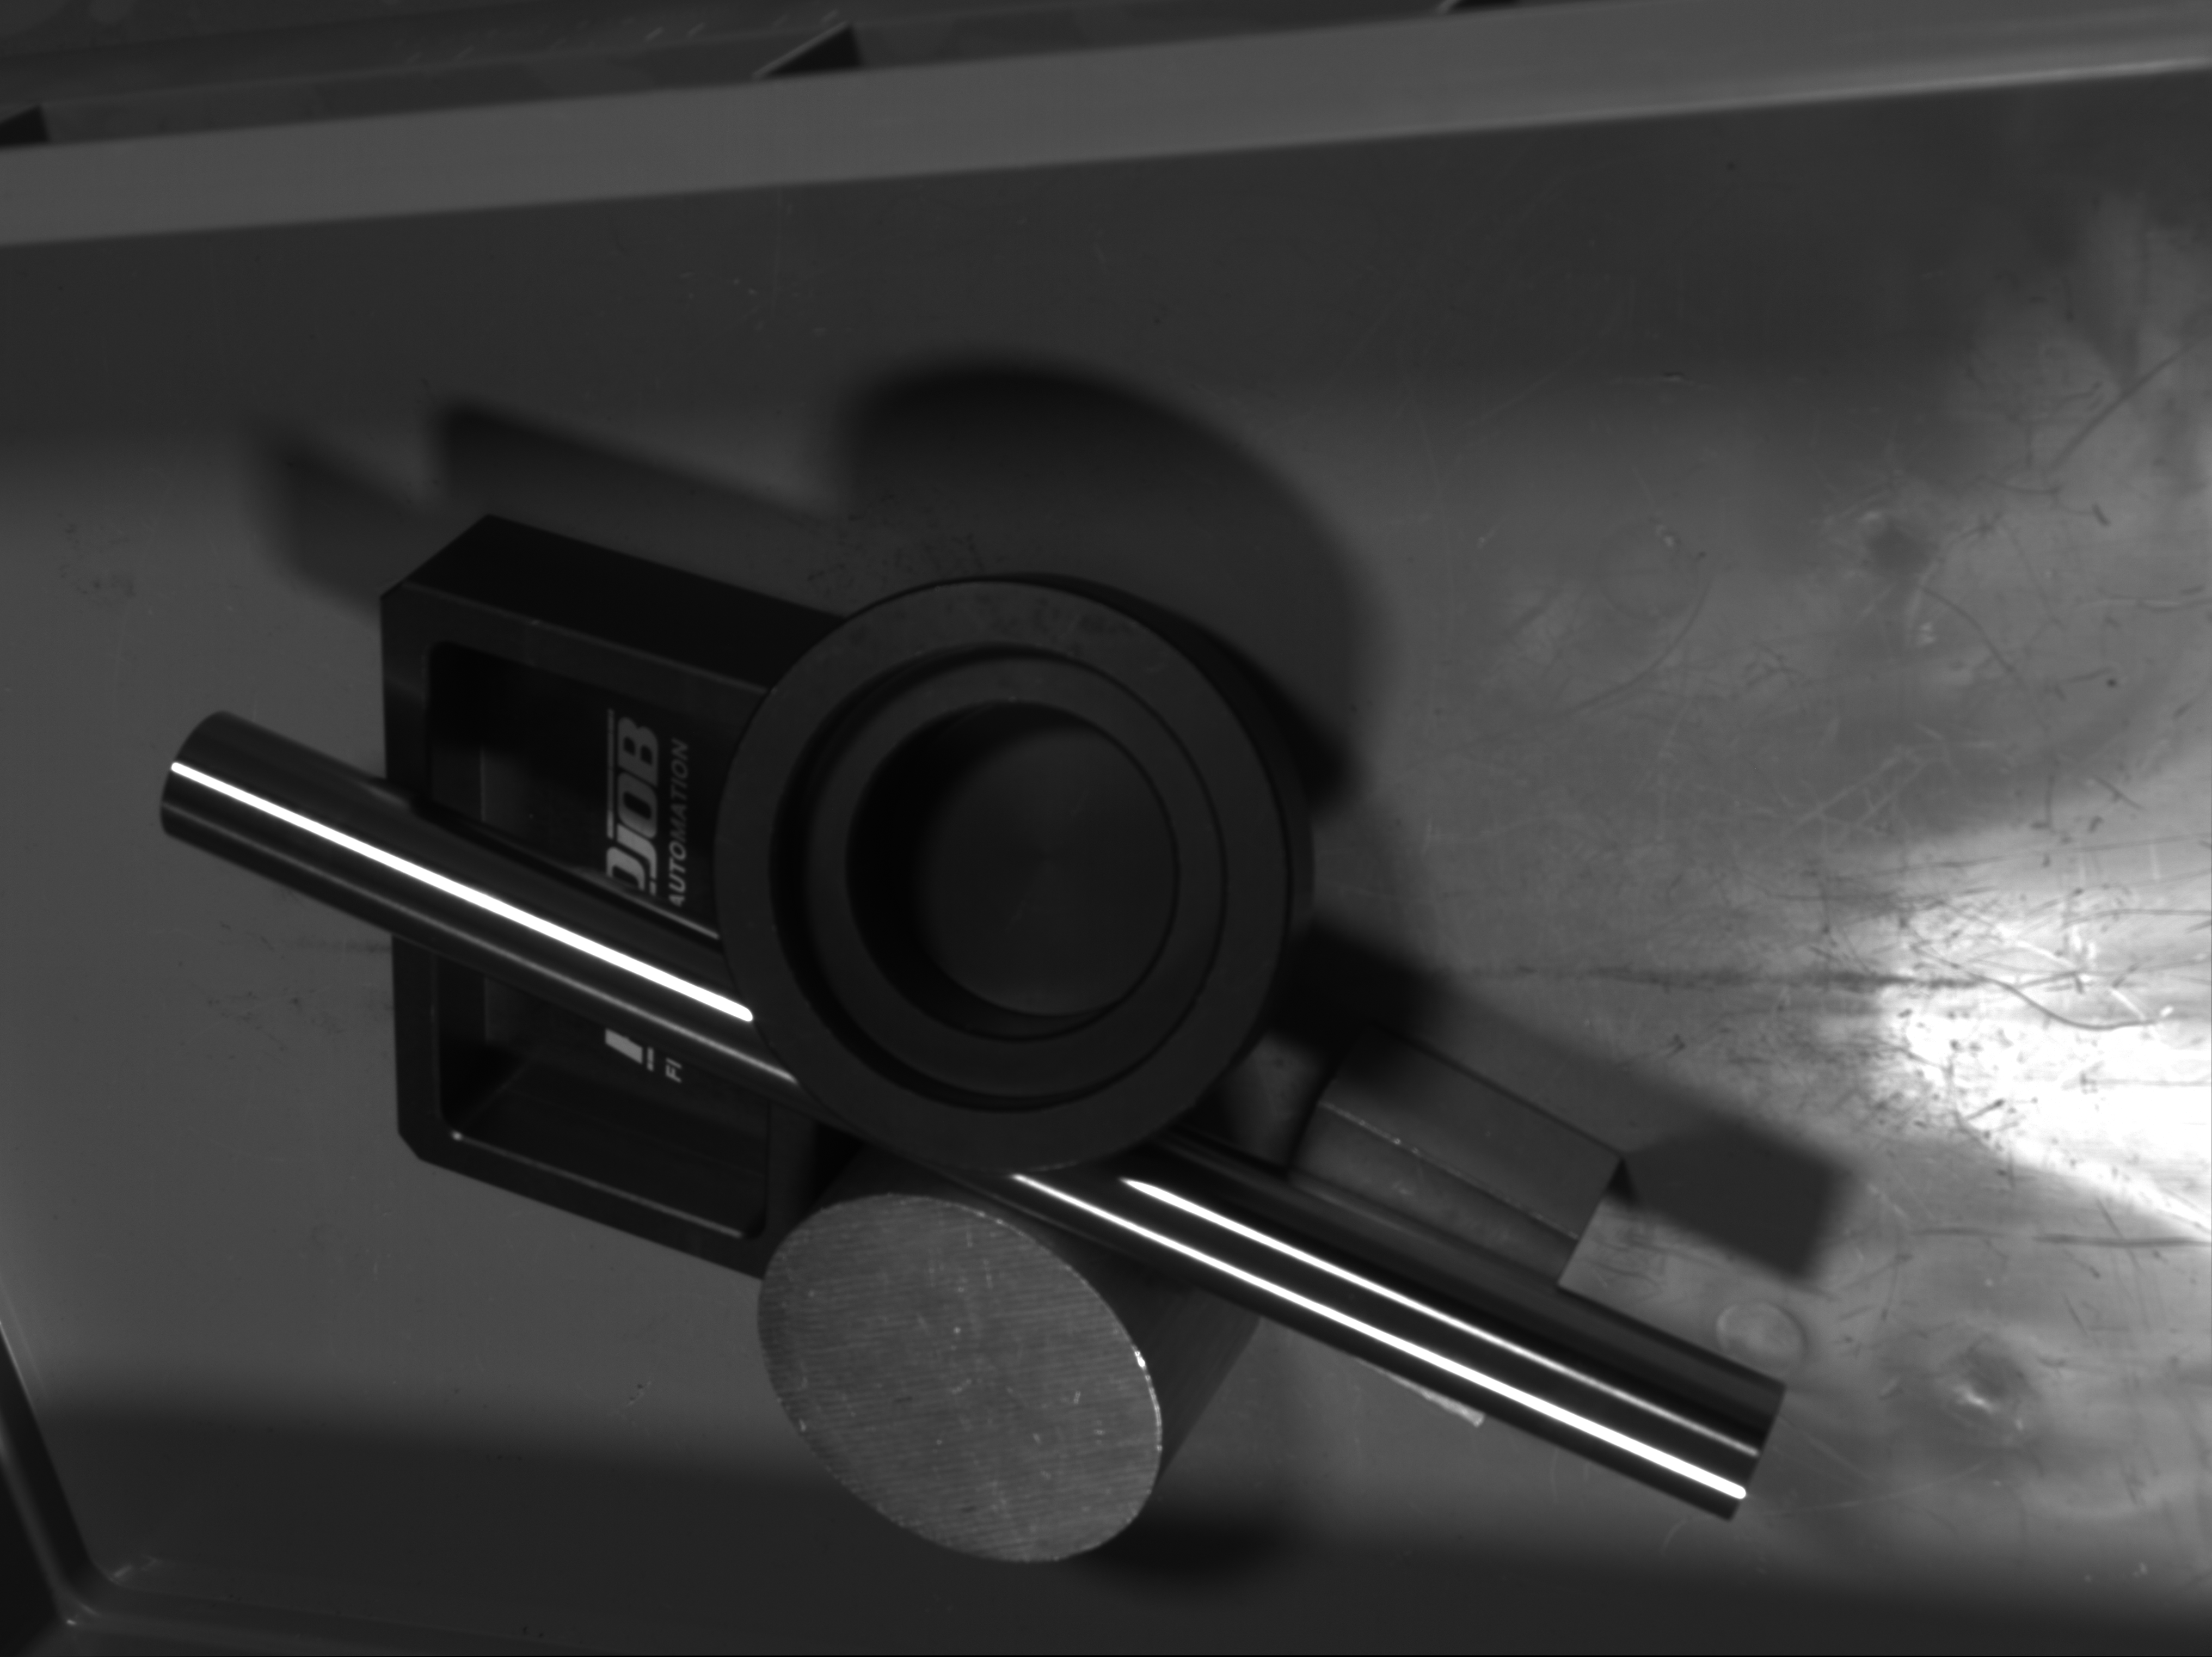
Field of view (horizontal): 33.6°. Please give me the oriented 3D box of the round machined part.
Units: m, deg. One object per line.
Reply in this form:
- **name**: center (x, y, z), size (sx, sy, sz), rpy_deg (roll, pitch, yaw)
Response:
- **round machined part**: center (-0.013, 0.007, 0.614), size (0.098, 0.042, 0.098), rpy_deg (1, 96, 14)

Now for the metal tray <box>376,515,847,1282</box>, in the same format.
- **metal tray**: center (-0.087, 0.015, 0.678), size (0.090, 0.030, 0.130), rpy_deg (17, 125, 17)

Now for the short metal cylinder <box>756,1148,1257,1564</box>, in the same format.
- **short metal cylinder**: center (-0.017, 0.088, 0.674), size (0.080, 0.050, 0.080), rpy_deg (12, 123, 20)

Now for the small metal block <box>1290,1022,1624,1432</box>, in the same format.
- **small metal block**: center (0.056, 0.070, 0.643), size (0.050, 0.025, 0.050), rpy_deg (28, 127, 9)

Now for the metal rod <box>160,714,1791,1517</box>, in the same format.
- **metal rod**: center (-0.027, 0.047, 0.635), size (0.300, 0.025, 0.025), rpy_deg (22, 126, 10)
